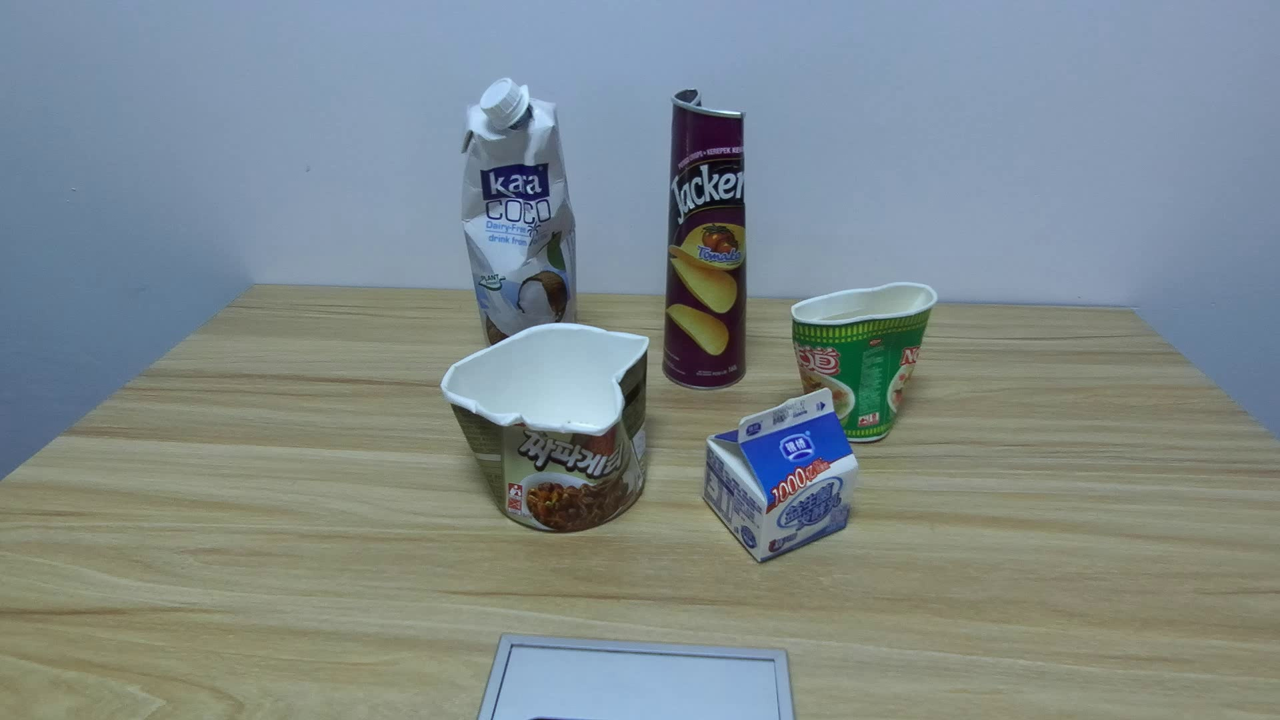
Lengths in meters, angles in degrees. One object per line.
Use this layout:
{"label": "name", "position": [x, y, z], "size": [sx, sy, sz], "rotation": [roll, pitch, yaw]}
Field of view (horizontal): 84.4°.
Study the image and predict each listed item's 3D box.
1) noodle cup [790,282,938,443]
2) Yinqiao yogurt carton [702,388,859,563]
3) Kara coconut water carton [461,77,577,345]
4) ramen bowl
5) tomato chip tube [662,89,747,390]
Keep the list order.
{"label": "noodle cup", "position": [0.169, 0.001, 0.550], "size": [0.115, 0.111, 0.070], "rotation": [-1, 31, 1]}
{"label": "Yinqiao yogurt carton", "position": [0.091, 0.066, 0.461], "size": [0.076, 0.092, 0.073], "rotation": [-16, 34, -22]}
{"label": "Kara coconut water carton", "position": [-0.097, -0.097, 0.574], "size": [0.083, 0.256, 0.078], "rotation": [4, 33, 8]}
{"label": "ramen bowl", "position": [-0.063, 0.045, 0.492], "size": [0.133, 0.097, 0.113], "rotation": [5, 34, 6]}
{"label": "tomato chip tube", "position": [0.058, -0.093, 0.586], "size": [0.076, 0.235, 0.078], "rotation": [13, 32, 23]}
